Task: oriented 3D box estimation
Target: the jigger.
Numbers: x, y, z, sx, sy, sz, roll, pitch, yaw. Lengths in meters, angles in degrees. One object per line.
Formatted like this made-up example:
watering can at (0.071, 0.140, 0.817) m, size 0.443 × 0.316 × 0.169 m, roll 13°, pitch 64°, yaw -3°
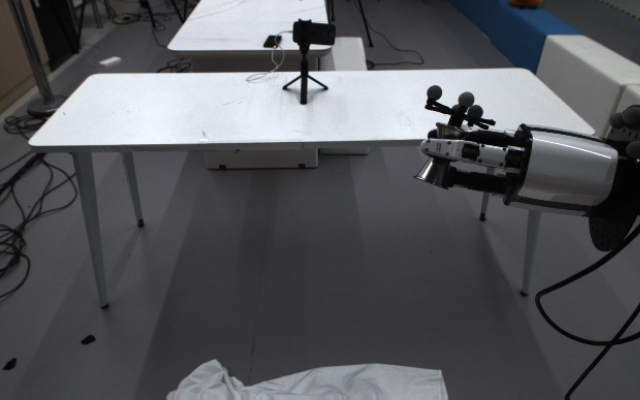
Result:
jigger at (0.139, -0.051, 0.560) m, size 0.043 × 0.071 × 0.043 m, roll 22°, pitch 5°, yaw -2°
